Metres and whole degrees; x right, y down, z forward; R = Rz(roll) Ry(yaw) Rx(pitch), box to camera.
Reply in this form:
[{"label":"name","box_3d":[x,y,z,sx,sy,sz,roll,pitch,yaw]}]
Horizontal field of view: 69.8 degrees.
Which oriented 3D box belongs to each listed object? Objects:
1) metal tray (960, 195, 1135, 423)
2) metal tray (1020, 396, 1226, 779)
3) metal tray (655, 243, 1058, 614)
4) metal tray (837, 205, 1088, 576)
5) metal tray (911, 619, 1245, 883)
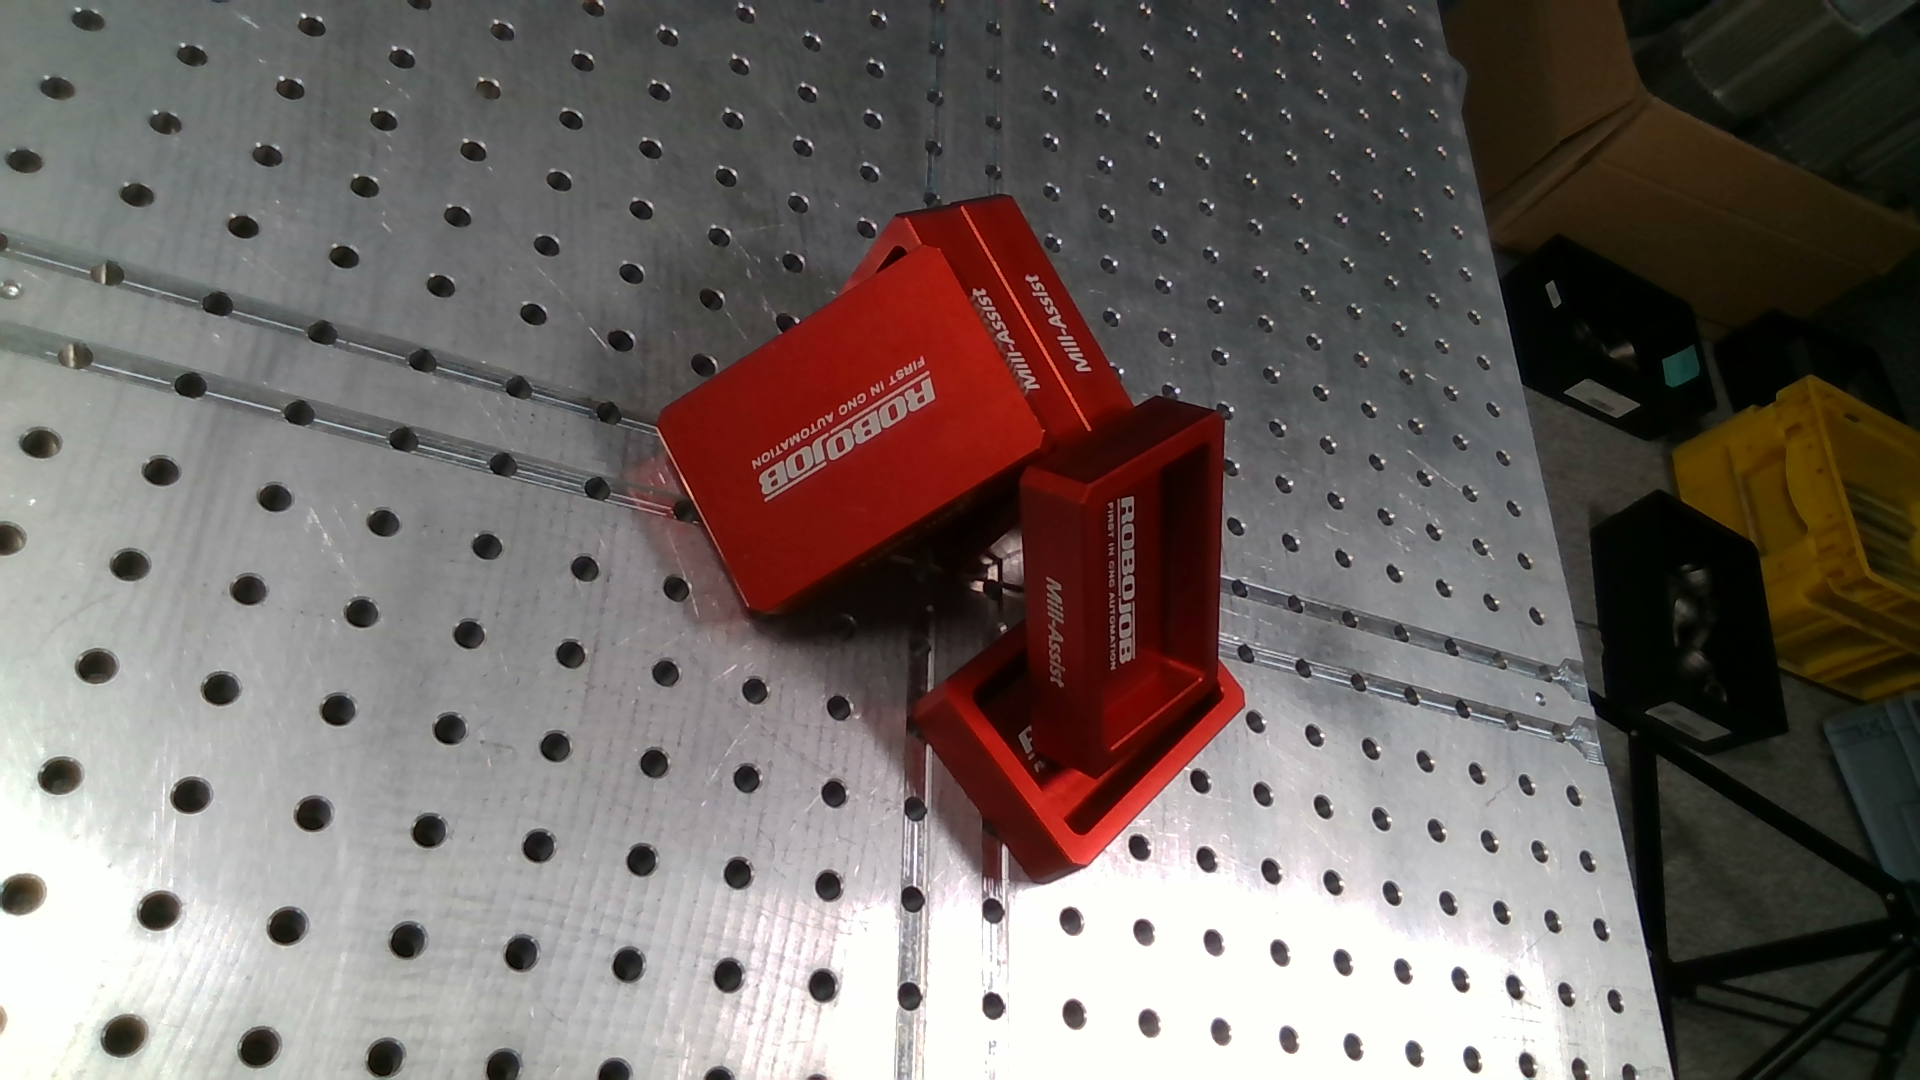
[{"label":"metal tray","box_3d":[0.019,-0.071,0.596,0.030,0.090,0.130,-21,78,-38]},{"label":"metal tray","box_3d":[0.067,0.019,0.547,0.090,0.030,0.130,-30,127,-39]},{"label":"metal tray","box_3d":[-0.040,-0.040,0.526,0.090,0.130,0.030,61,10,10]},{"label":"metal tray","box_3d":[-0.003,-0.061,0.576,0.030,0.090,0.130,-21,78,-38]},{"label":"metal tray","box_3d":[0.053,0.070,0.579,0.130,0.030,0.090,-35,86,-39]}]
